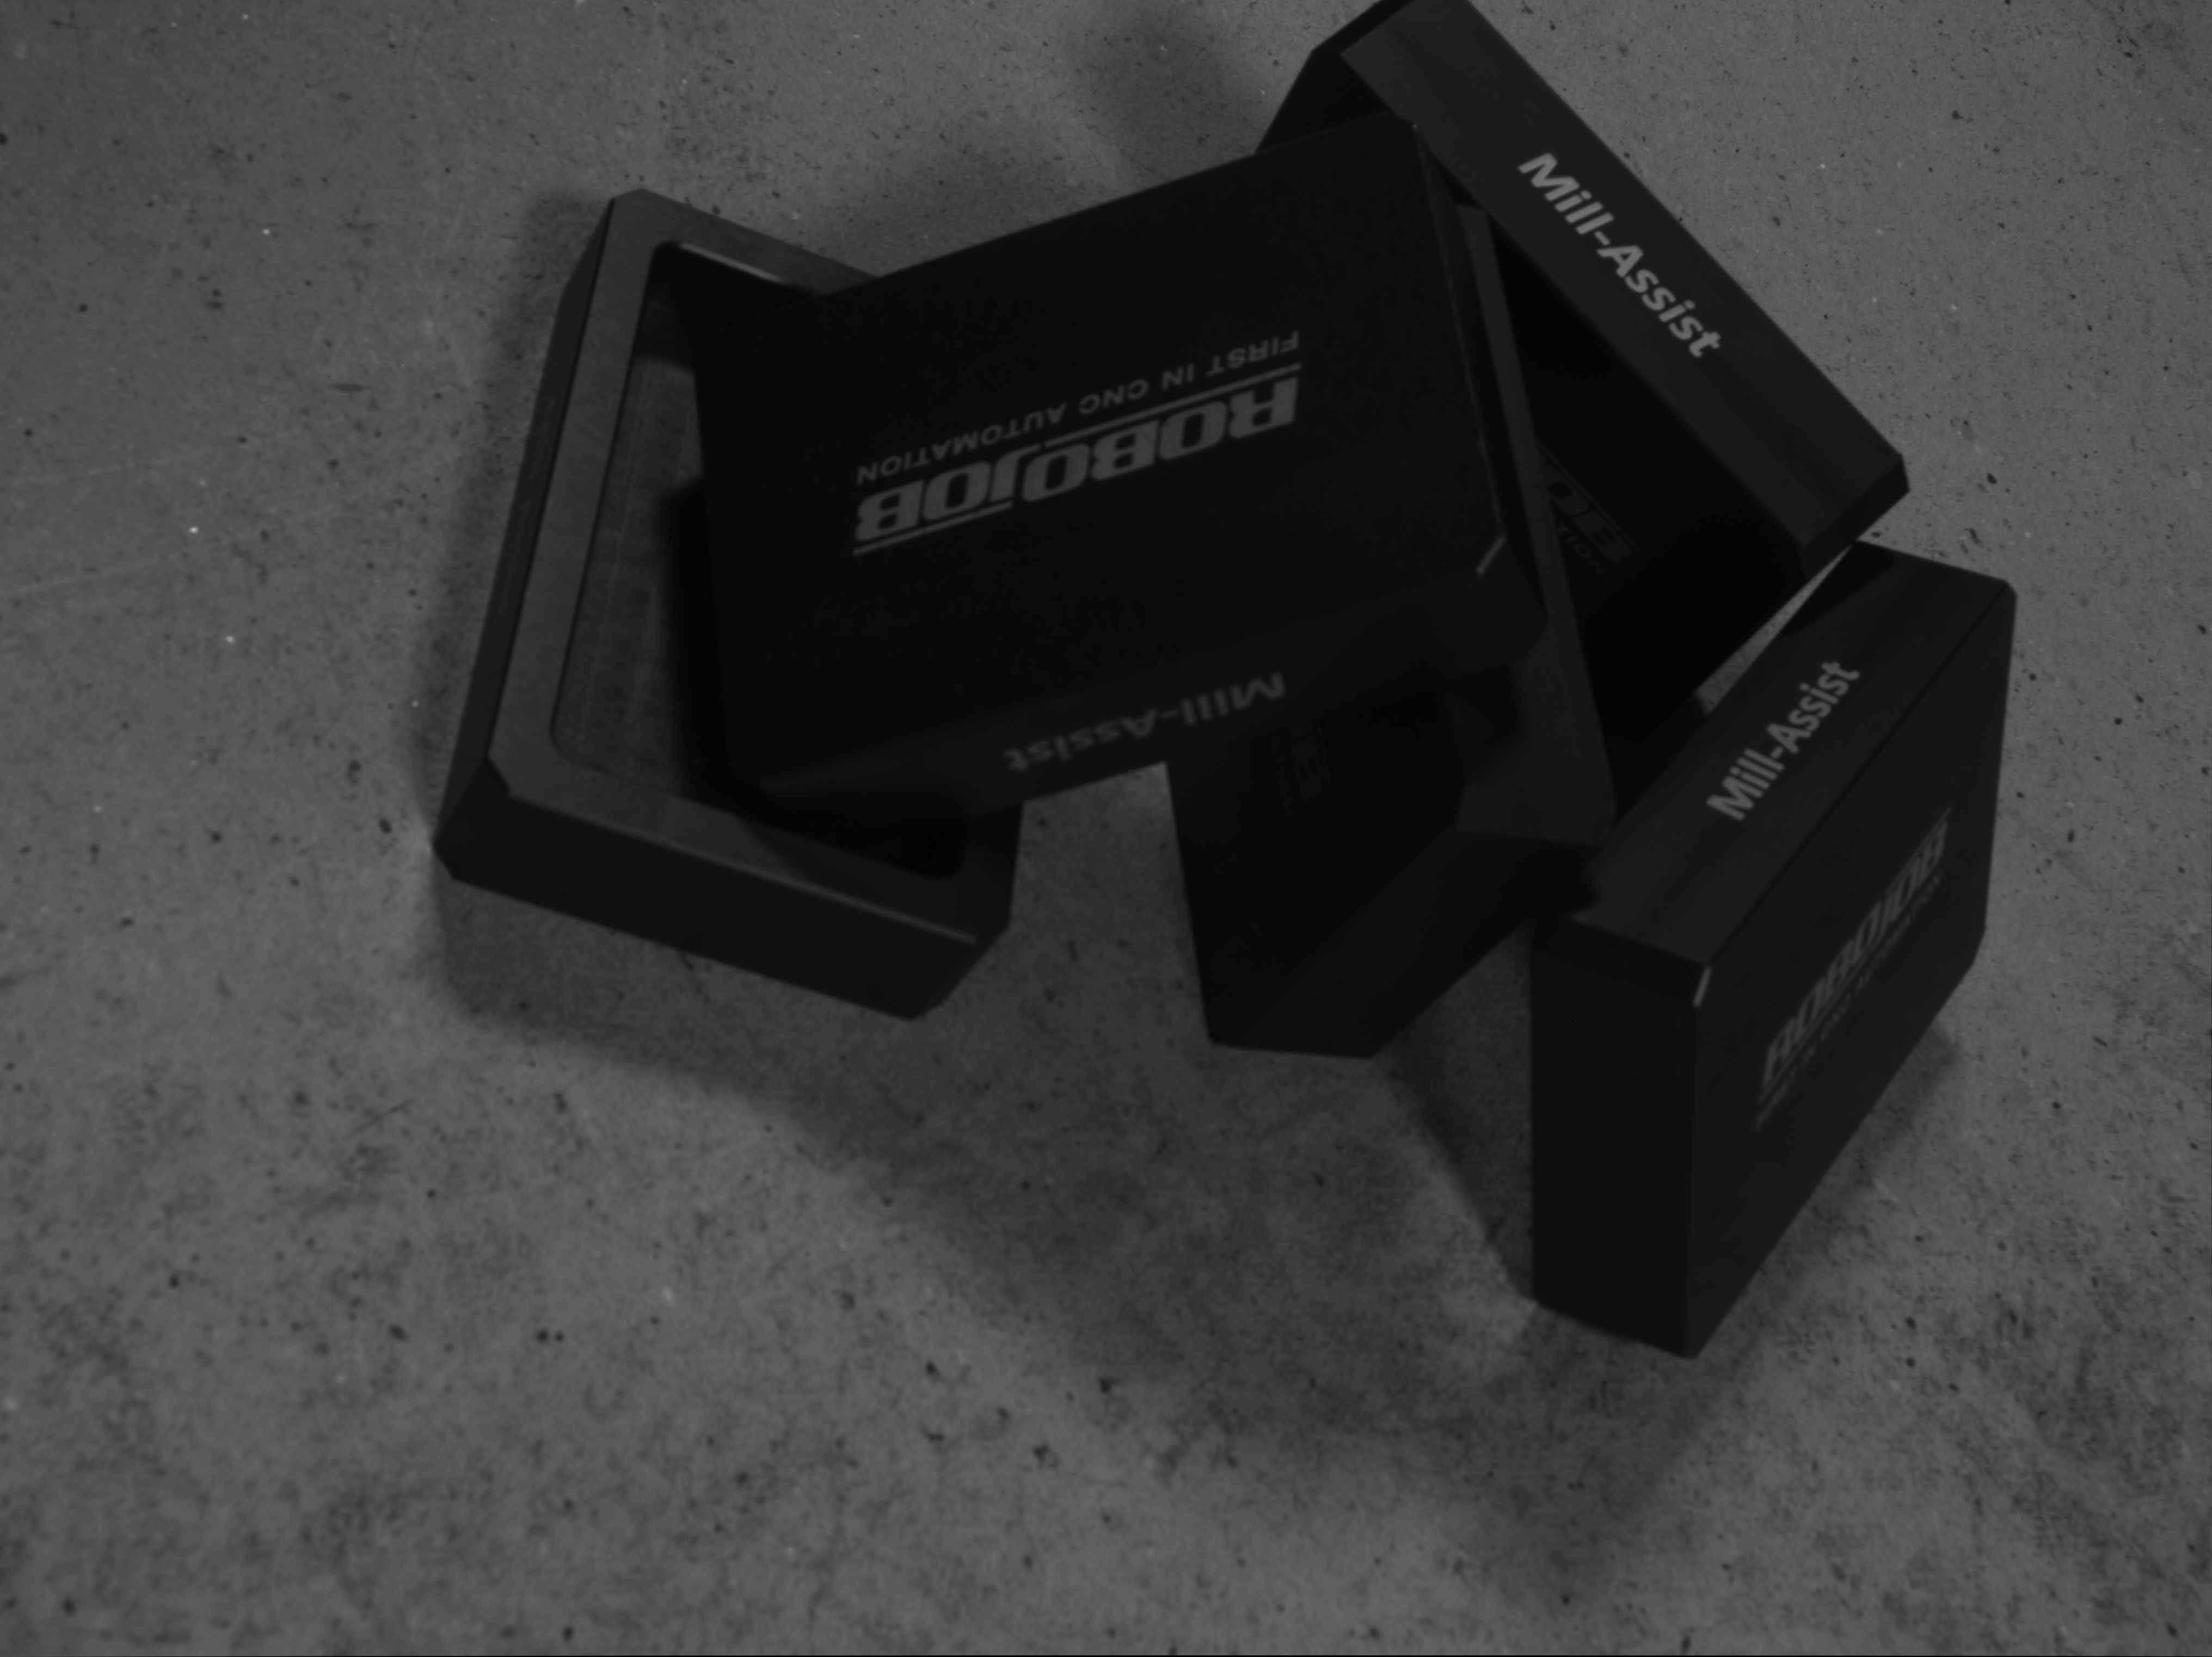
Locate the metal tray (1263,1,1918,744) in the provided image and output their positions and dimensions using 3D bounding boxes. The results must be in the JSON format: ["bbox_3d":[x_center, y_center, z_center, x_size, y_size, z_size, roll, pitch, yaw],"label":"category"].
[{"bbox_3d":[0.082,-0.086,0.692,0.030,0.090,0.130,-40,84,-24],"label":"metal tray"}]

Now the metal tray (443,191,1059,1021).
[{"bbox_3d":[-0.056,-0.040,0.631,0.090,0.030,0.130,18,54,-17],"label":"metal tray"}]

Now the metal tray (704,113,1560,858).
[{"bbox_3d":[0.002,-0.056,0.602,0.130,0.030,0.090,-16,61,14],"label":"metal tray"}]

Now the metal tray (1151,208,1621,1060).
[{"bbox_3d":[0.044,-0.036,0.644,0.030,0.090,0.130,6,59,-25],"label":"metal tray"}]

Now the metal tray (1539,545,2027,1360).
[{"bbox_3d":[0.121,0.020,0.651,0.030,0.090,0.130,19,45,29],"label":"metal tray"}]
